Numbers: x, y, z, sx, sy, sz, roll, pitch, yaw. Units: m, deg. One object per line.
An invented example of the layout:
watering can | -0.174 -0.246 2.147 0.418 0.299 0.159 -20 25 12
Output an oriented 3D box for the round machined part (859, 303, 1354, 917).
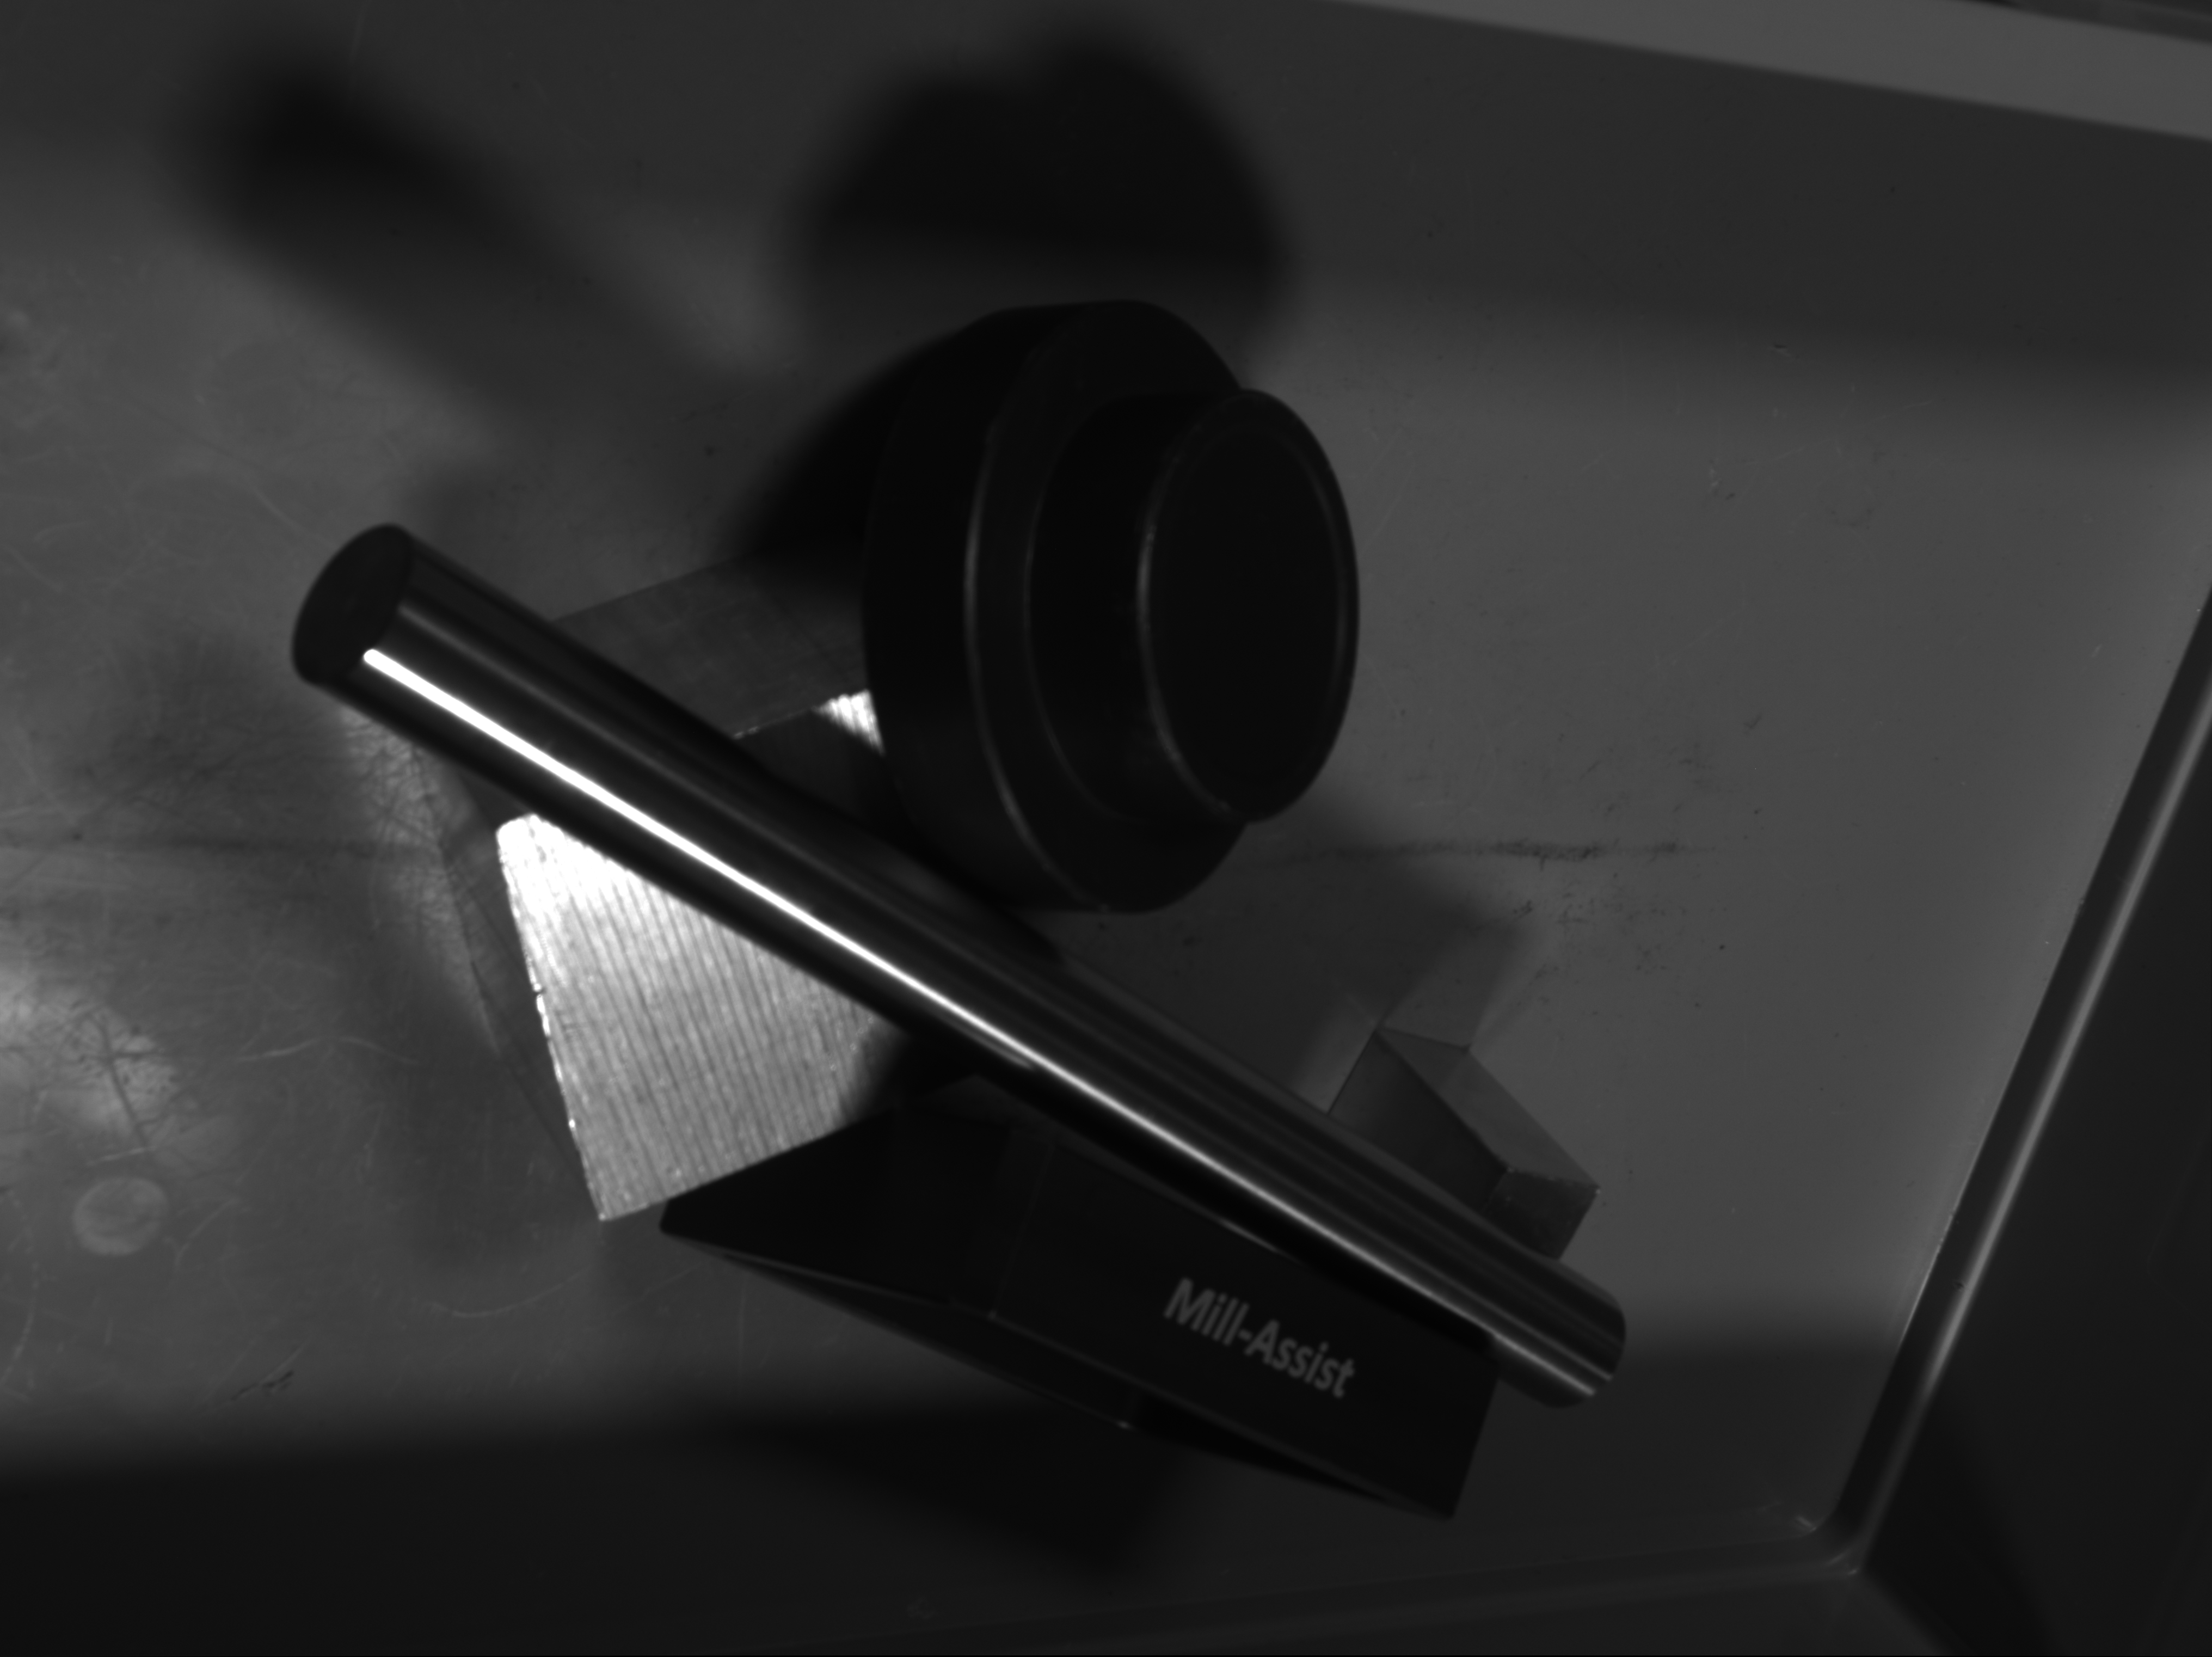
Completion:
round machined part | 0.006 -0.035 0.586 0.098 0.042 0.098 -2 92 -58

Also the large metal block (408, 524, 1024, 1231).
large metal block | -0.064 0.007 0.600 0.080 0.050 0.080 -21 127 -18

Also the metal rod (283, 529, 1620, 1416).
metal rod | -0.009 0.035 0.599 0.301 0.025 0.025 34 98 -40

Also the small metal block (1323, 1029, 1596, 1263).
small metal block | 0.061 0.075 0.716 0.025 0.050 0.050 16 109 -36

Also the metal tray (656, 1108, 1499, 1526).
metal tray | -0.004 0.085 0.653 0.130 0.090 0.030 31 73 -40
